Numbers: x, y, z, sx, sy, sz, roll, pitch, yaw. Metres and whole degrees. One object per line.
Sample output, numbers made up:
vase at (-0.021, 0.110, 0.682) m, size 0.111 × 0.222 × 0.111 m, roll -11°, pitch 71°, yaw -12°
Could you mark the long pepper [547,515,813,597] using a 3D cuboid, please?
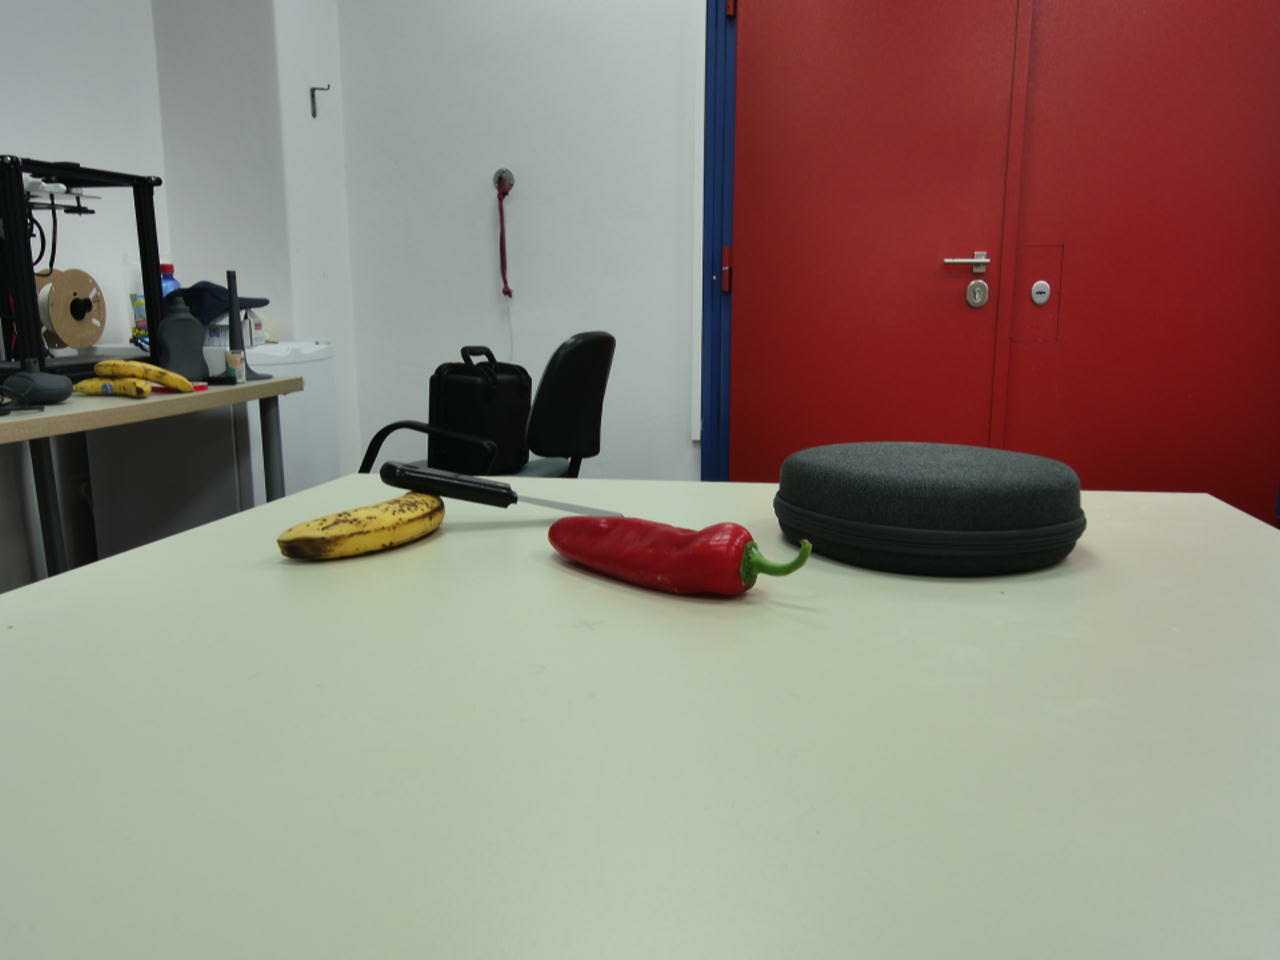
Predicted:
long pepper at (0.010, 0.042, 0.617) m, size 0.211 × 0.043 × 0.050 m, roll 7°, pitch 10°, yaw 43°
